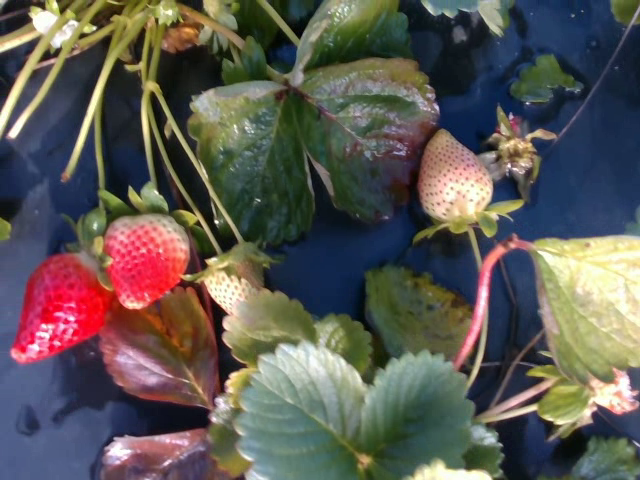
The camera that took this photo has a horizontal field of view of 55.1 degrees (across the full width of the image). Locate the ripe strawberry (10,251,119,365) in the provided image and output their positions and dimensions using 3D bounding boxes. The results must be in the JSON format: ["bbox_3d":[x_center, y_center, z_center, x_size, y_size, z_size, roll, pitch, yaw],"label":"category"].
[{"bbox_3d":[-0.118,0.032,0.265,0.044,0.042,0.055,1,45,36],"label":"ripe strawberry"}]
